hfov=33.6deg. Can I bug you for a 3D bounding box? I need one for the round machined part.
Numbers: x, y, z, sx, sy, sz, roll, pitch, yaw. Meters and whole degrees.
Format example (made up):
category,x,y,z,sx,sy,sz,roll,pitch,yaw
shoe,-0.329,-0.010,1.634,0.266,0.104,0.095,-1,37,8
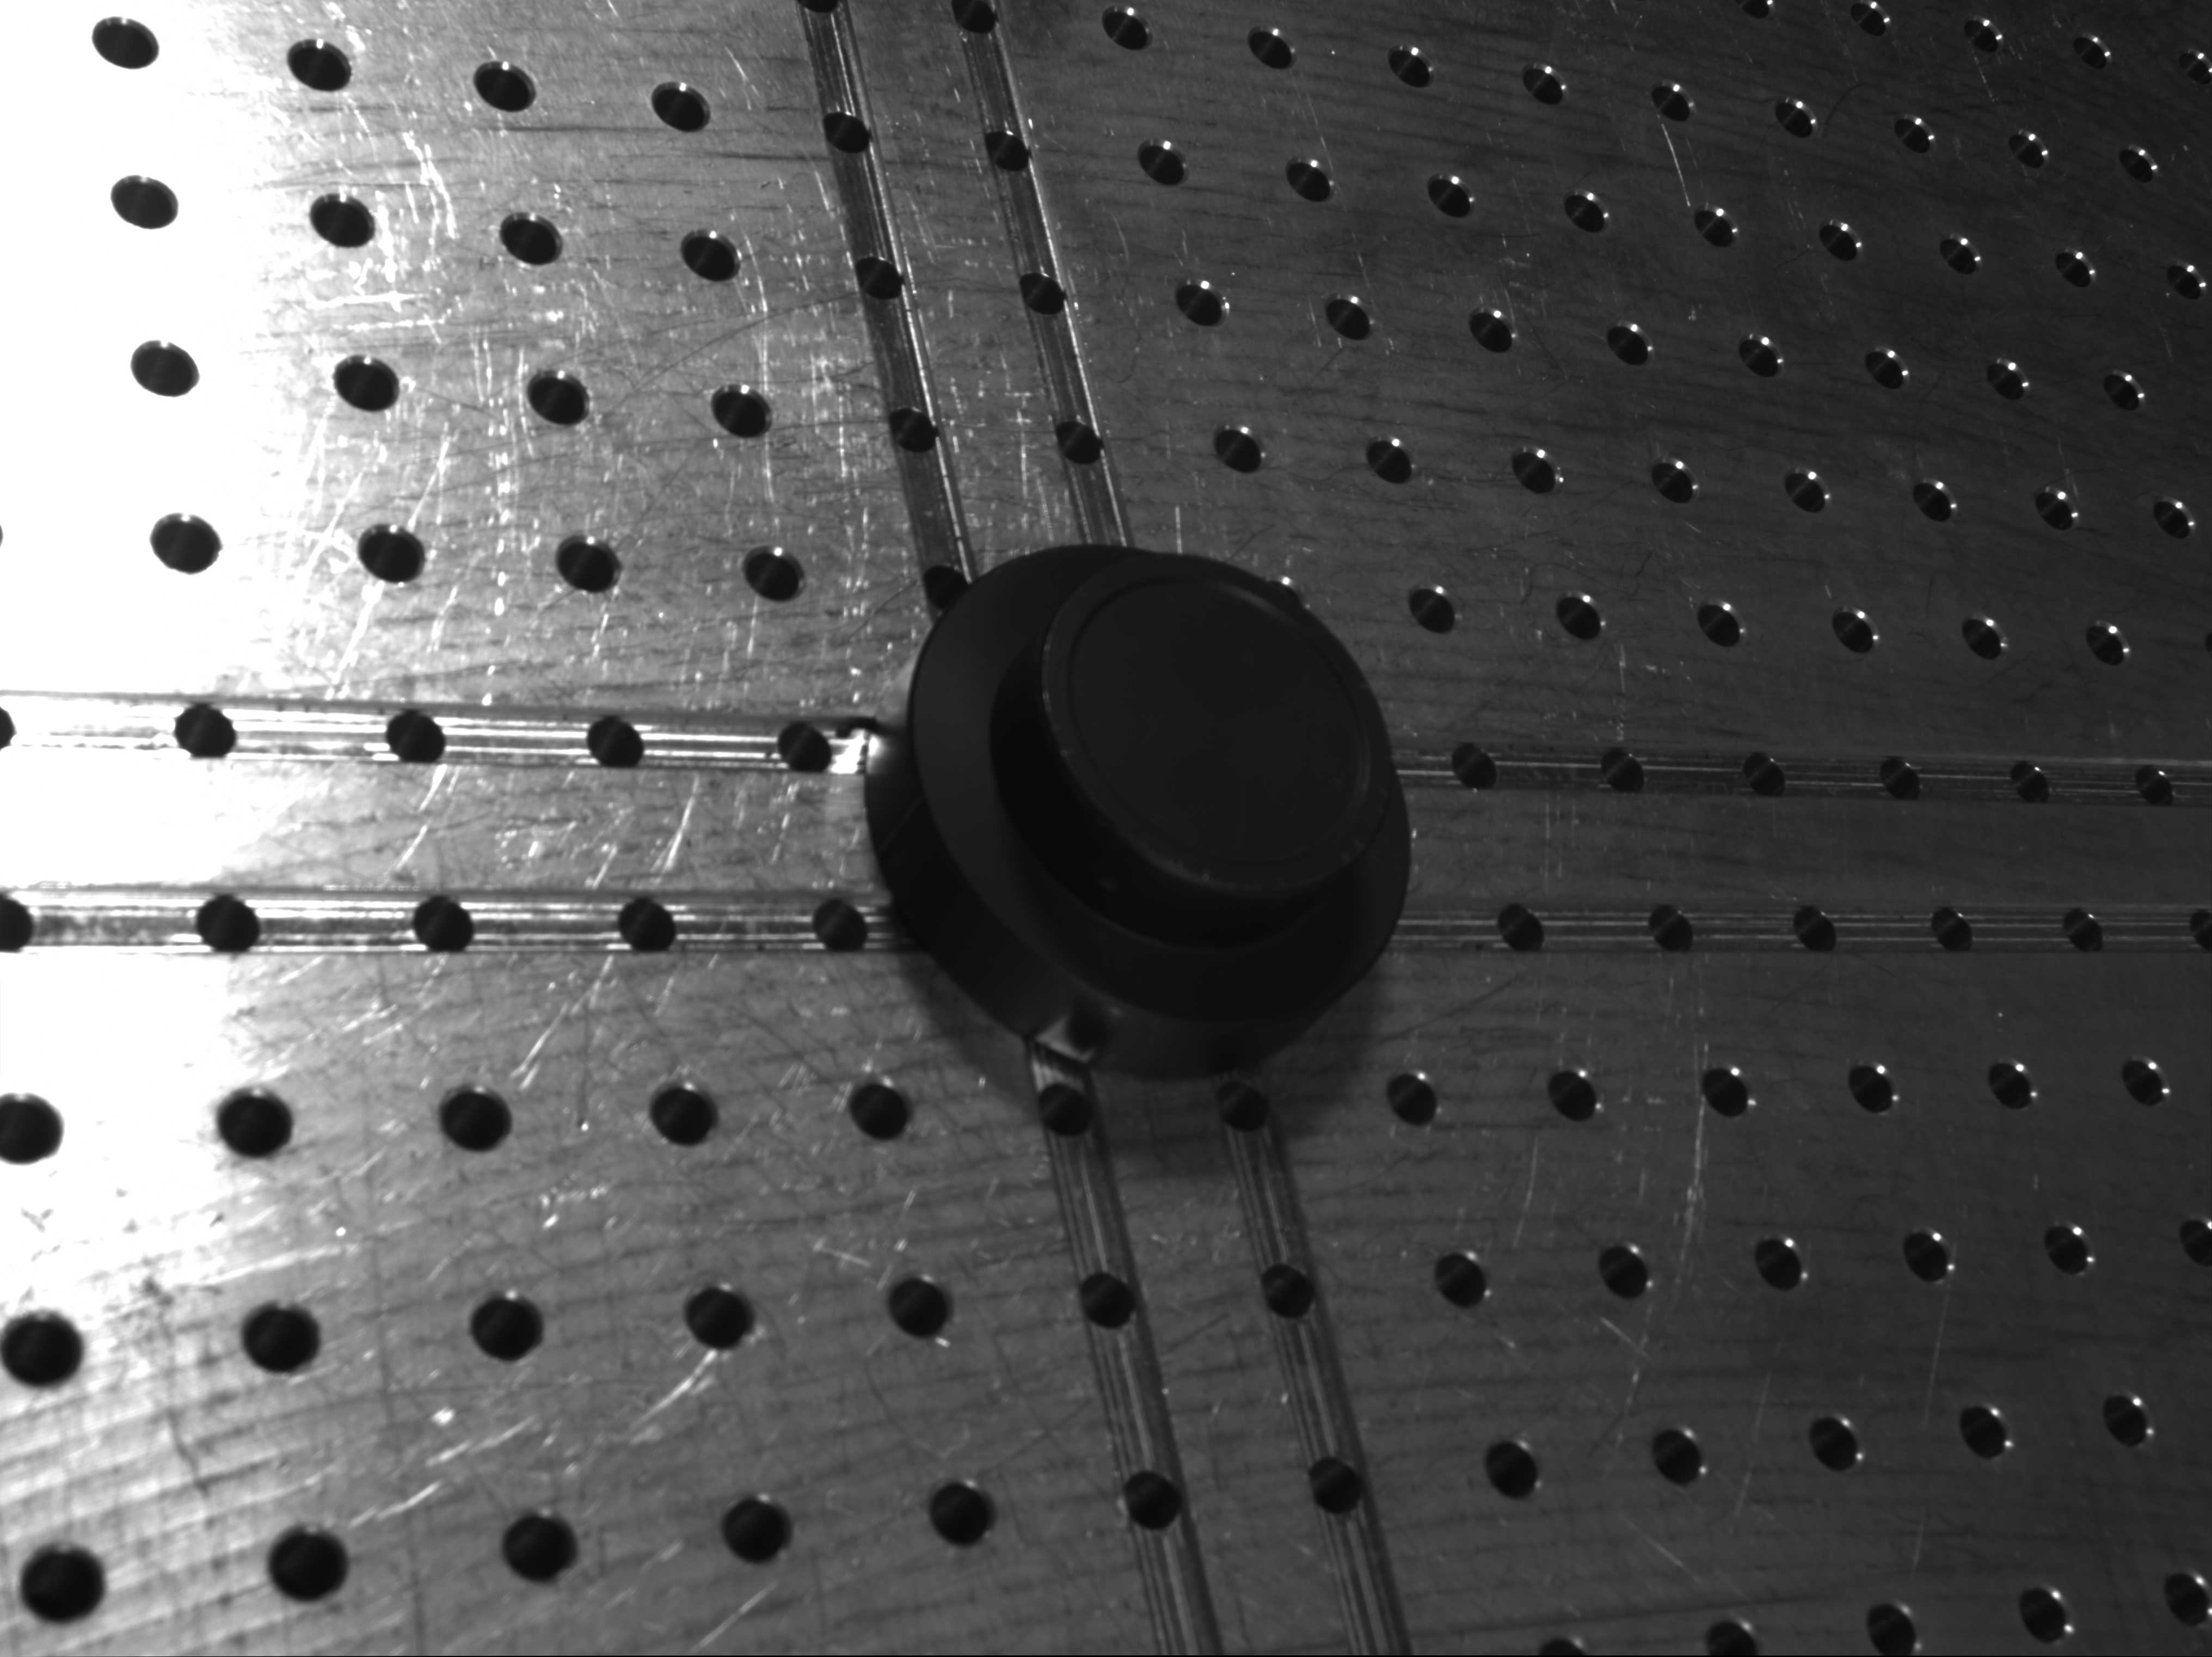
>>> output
category,x,y,z,sx,sy,sz,roll,pitch,yaw
round machined part,0.013,-0.009,0.644,0.098,0.042,0.098,14,56,-21
